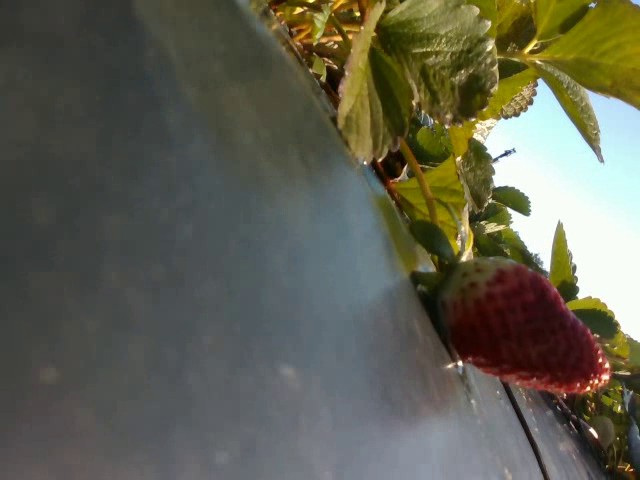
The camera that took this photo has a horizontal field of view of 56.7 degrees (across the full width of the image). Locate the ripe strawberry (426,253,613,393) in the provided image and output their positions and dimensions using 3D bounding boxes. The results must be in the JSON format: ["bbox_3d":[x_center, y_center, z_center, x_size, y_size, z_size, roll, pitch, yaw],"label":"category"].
[{"bbox_3d":[0.043,0.020,0.122,0.041,0.031,0.028,32,19,31],"label":"ripe strawberry"}]
